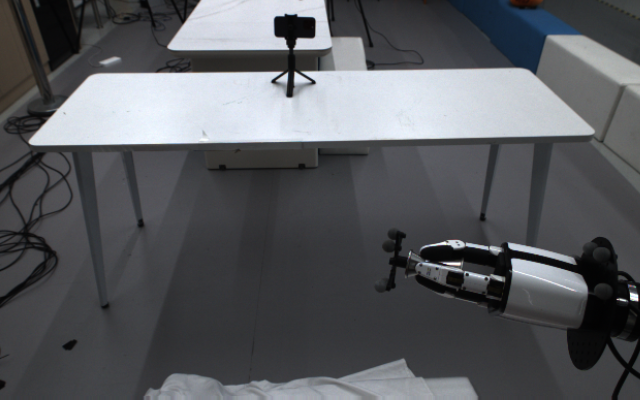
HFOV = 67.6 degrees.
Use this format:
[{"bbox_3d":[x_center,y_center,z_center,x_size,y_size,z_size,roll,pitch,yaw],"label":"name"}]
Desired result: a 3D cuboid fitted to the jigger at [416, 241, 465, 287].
[{"bbox_3d":[0.154,0.085,0.627,0.071,0.043,0.043,10,35,16],"label":"jigger"}]
